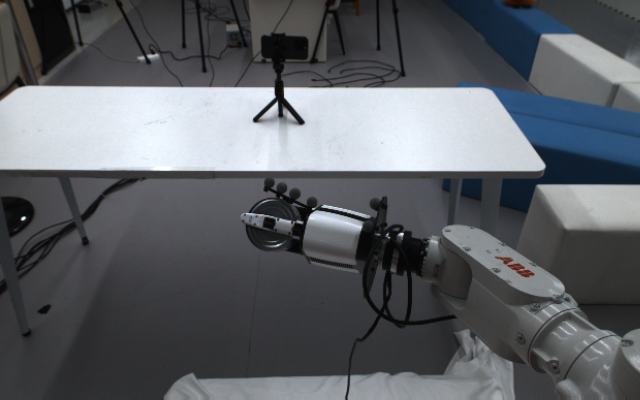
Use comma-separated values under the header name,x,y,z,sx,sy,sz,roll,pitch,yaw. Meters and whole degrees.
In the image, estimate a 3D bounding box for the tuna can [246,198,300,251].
name,x,y,z,sx,sy,sz,roll,pitch,yaw
tuna can,-0.071,0.039,0.769,0.085,0.085,0.034,13,-5,16
